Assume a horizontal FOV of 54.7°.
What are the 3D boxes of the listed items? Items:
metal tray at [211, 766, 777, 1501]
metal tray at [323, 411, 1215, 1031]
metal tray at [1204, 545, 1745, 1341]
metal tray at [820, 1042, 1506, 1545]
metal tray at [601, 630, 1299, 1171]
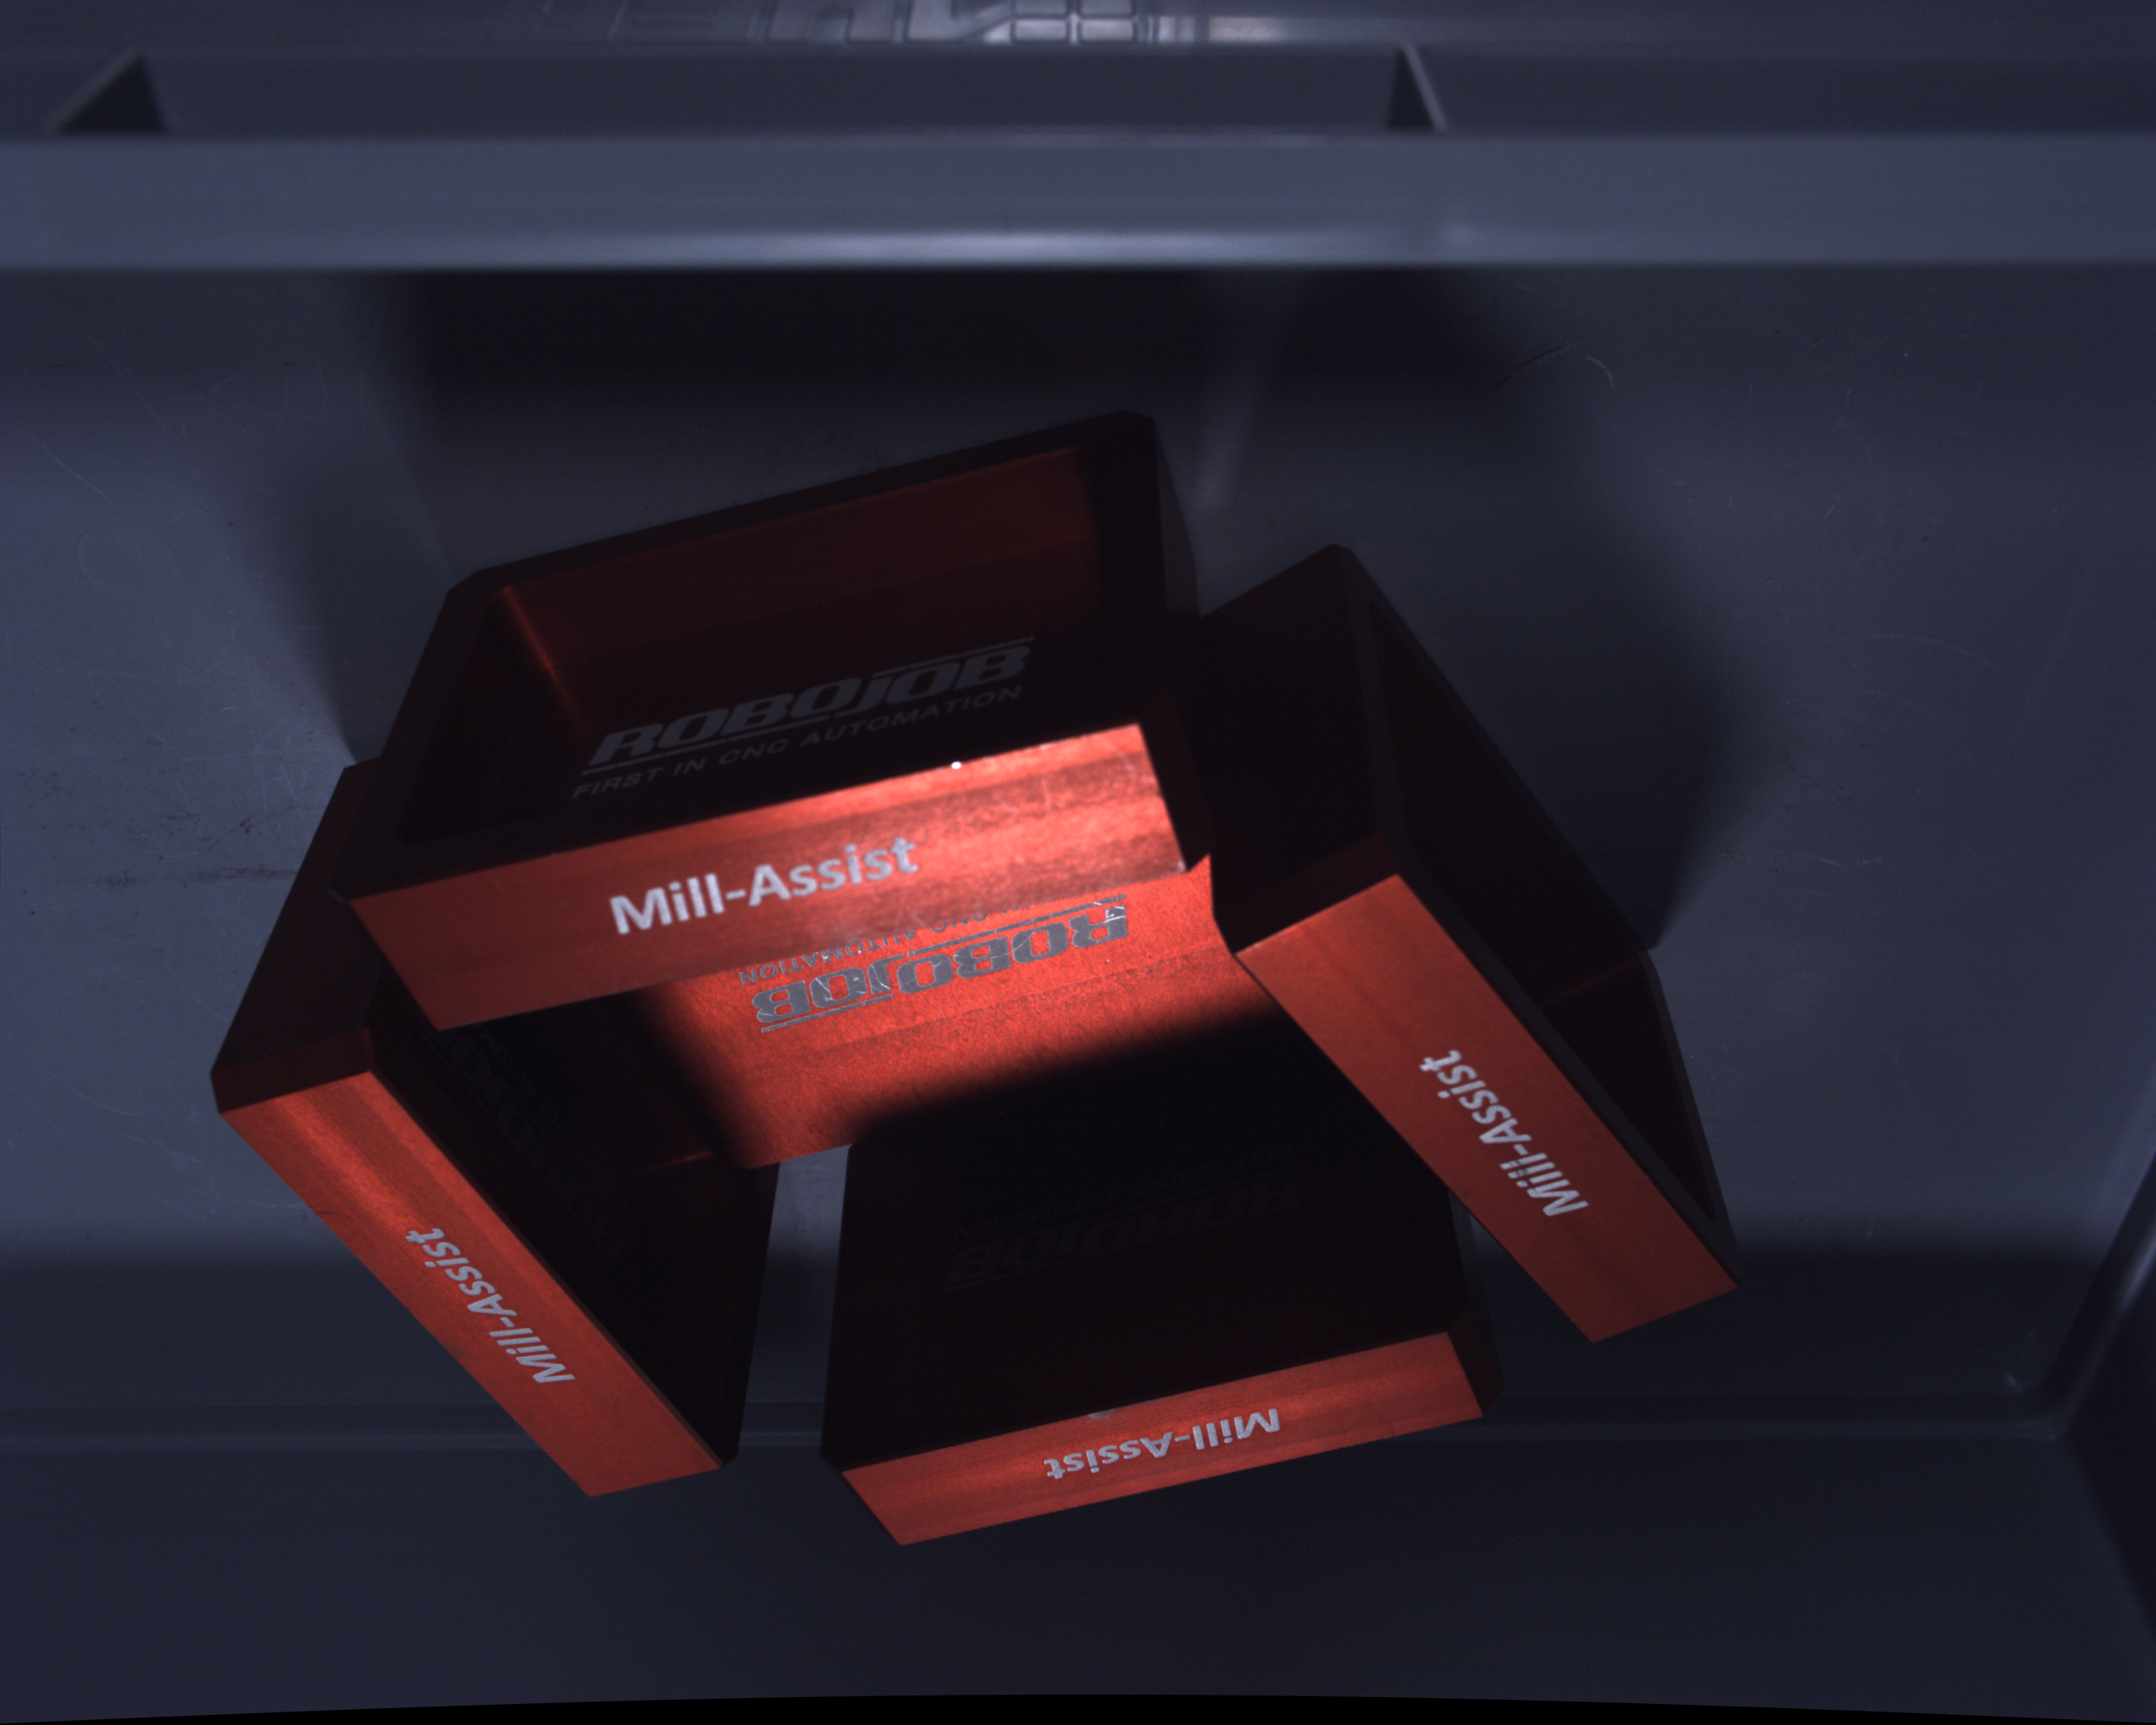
[{"bbox_3d":[-0.104,0.050,0.405,0.030,0.090,0.130,-17,129,13],"label":"metal tray"},{"bbox_3d":[-0.047,-0.025,0.341,0.131,0.090,0.030,-12,129,9],"label":"metal tray"},{"bbox_3d":[0.071,0.016,0.379,0.030,0.090,0.130,-29,125,23],"label":"metal tray"},{"bbox_3d":[0.015,0.083,0.435,0.130,0.090,0.030,-16,128,12],"label":"metal tray"},{"bbox_3d":[-0.028,0.008,0.409,0.130,0.030,0.090,-15,129,12],"label":"metal tray"}]
